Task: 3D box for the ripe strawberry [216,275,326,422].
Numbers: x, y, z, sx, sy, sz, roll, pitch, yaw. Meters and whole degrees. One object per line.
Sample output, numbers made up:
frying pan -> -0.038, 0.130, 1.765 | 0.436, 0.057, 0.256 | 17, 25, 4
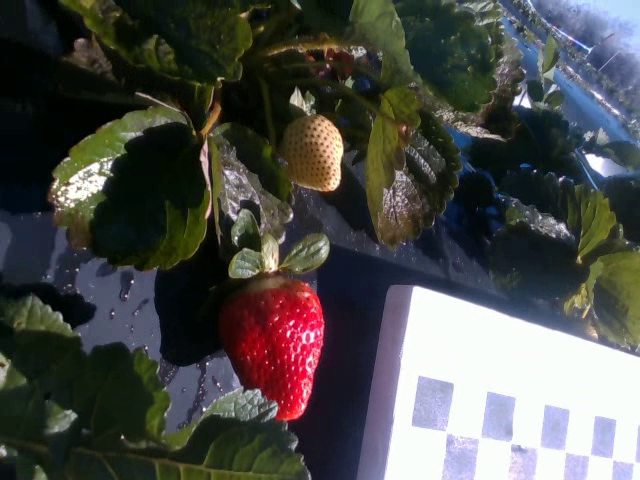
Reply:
ripe strawberry -> -0.018, 0.046, 0.270 | 0.048, 0.069, 0.040 | -3, -9, -33
